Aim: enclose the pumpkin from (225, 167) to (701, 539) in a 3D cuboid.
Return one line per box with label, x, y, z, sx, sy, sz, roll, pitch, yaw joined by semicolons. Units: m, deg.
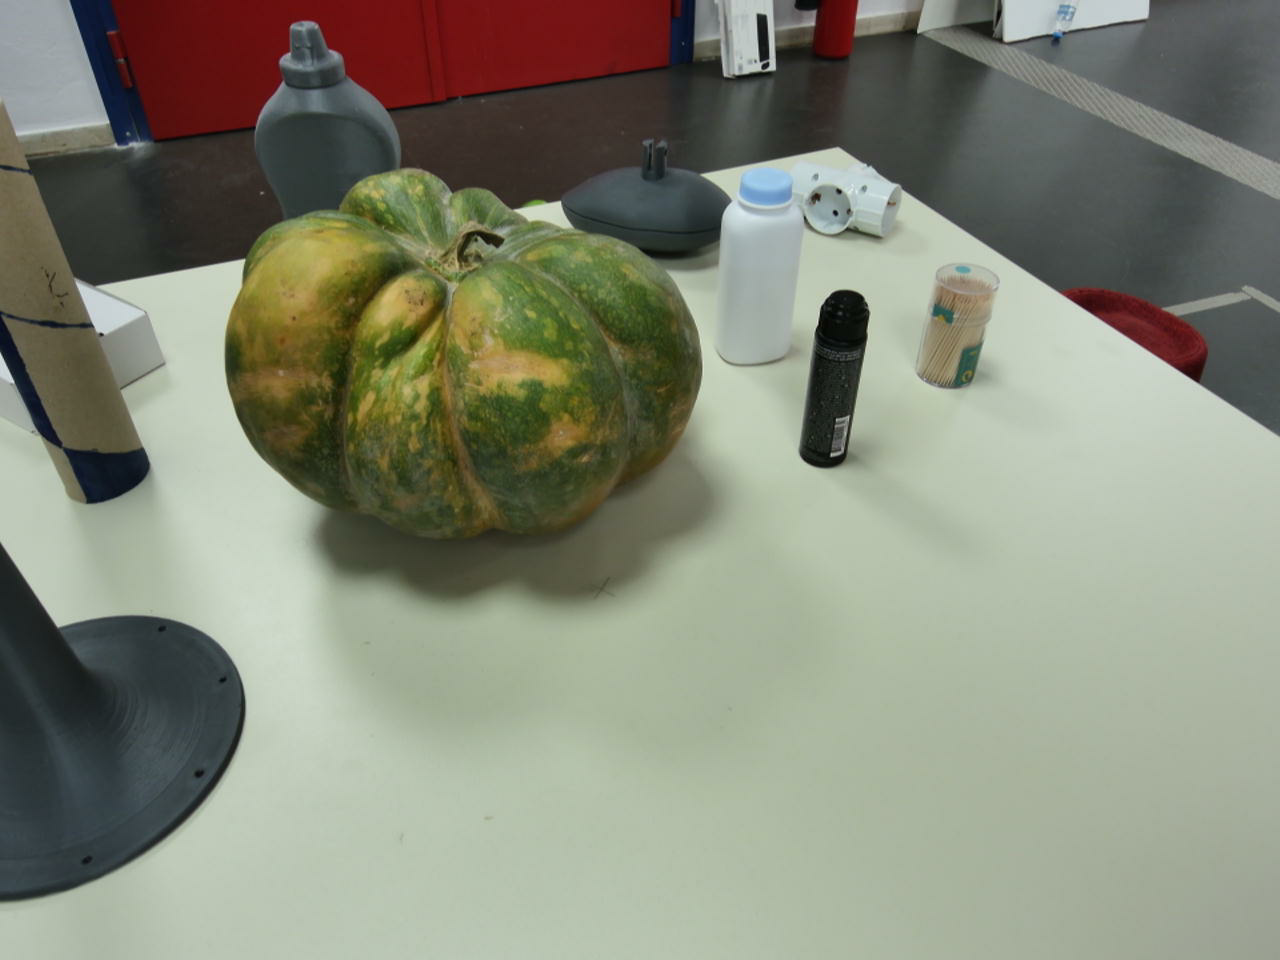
pumpkin;-0.099;-0.076;0.562;0.270;0.173;0.237;8;40;9
